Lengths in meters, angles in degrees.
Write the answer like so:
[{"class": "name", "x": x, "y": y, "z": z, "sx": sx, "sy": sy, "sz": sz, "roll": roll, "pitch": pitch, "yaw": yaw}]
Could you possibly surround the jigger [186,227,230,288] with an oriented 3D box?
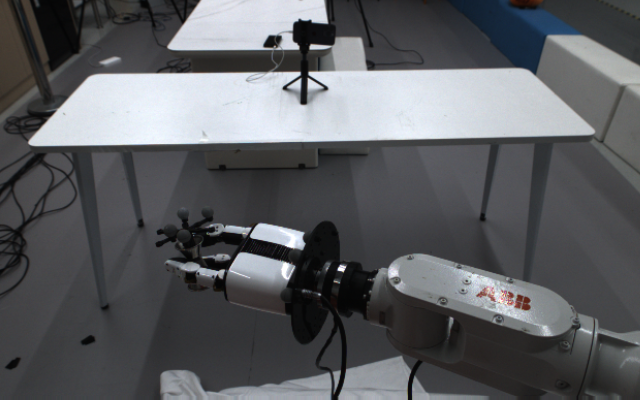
[{"class": "jigger", "x": -0.171, "y": 0.085, "z": 0.682, "sx": 0.043, "sy": 0.071, "sz": 0.043, "roll": -10, "pitch": 24, "yaw": 4}]
